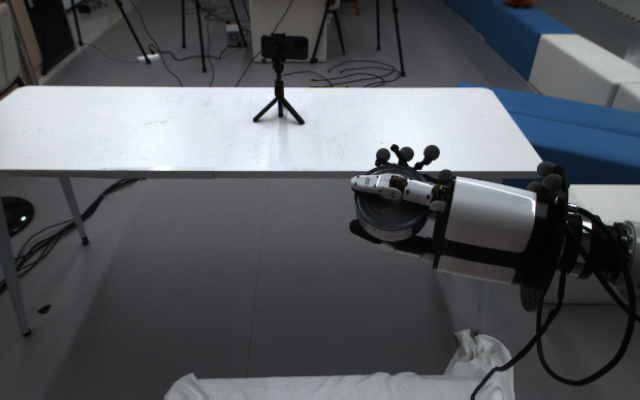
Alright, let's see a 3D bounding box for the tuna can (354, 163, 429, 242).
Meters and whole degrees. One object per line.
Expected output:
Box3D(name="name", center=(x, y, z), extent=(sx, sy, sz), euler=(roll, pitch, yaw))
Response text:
Box3D(name="tuna can", center=(0.083, -0.001, 0.551), extent=(0.085, 0.034, 0.085), euler=(-4, 54, 6))
